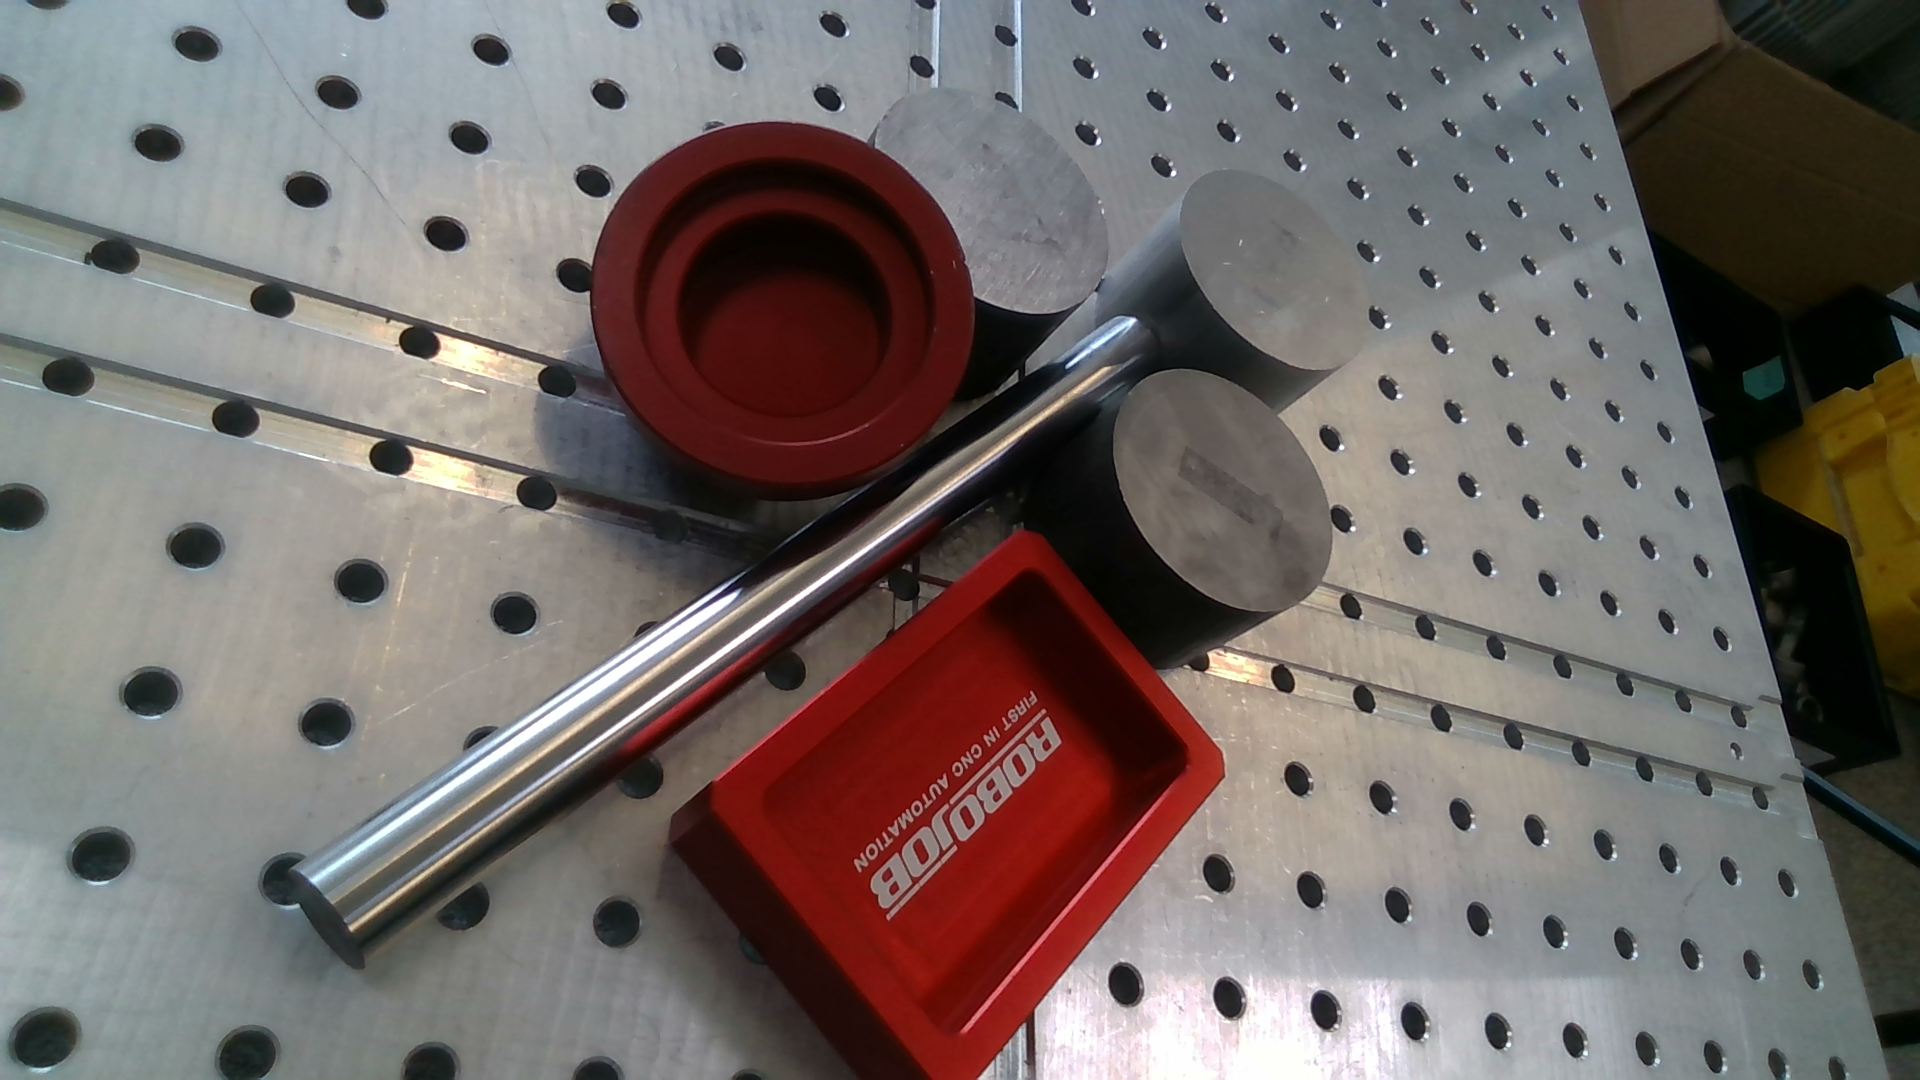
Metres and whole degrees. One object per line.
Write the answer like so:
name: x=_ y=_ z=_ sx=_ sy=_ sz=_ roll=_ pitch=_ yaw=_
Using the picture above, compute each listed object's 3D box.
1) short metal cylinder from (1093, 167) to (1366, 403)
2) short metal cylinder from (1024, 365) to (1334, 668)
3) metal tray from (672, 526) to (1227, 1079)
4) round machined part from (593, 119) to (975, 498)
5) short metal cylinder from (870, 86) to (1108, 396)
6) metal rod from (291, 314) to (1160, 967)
short metal cylinder: x=0.094 y=-0.082 z=0.482 sx=0.080 sy=0.050 sz=0.080 roll=14 pitch=59 yaw=-25
short metal cylinder: x=0.067 y=-0.006 z=0.424 sx=0.080 sy=0.050 sz=0.080 roll=14 pitch=59 yaw=-25
metal tray: x=0.003 y=0.065 z=0.359 sx=0.090 sy=0.030 sz=0.130 roll=50 pitch=51 yaw=2
round machined part: x=-0.048 y=-0.059 z=0.374 sx=0.098 sy=0.042 sz=0.098 roll=2 pitch=80 yaw=-12
short metal cylinder: x=-0.002 y=-0.092 z=0.428 sx=0.080 sy=0.050 sz=0.080 roll=14 pitch=59 yaw=-25
metal rod: x=-0.035 y=0.006 z=0.372 sx=0.025 sy=0.025 sz=0.299 roll=51 pitch=51 yaw=2
